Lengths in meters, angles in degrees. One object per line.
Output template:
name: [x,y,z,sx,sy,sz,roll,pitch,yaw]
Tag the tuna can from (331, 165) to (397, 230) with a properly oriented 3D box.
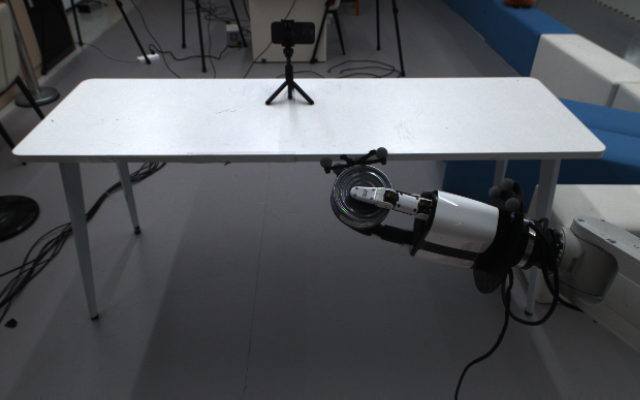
tuna can: [0.062,0.001,0.663,0.085,0.034,0.085,0,72,-1]
